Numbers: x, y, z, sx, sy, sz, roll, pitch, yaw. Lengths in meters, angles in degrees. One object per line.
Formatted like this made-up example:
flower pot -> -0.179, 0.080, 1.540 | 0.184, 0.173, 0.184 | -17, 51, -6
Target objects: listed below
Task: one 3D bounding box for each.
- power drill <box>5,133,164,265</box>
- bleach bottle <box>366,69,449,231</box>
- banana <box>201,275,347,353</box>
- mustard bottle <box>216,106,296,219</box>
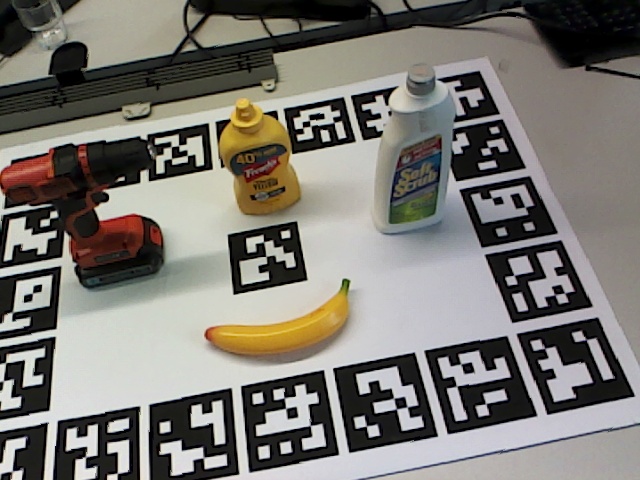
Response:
power drill -> -0.270, -0.049, 0.788 | 0.184, 0.186, 0.057 | -18, 56, 0
bleach bottle -> 0.106, -0.109, 0.780 | 0.103, 0.250, 0.068 | -4, 56, 4
banana -> -0.051, 0.104, 0.775 | 0.197, 0.038, 0.074 | -17, 58, -1
mustard bottle -> -0.090, -0.107, 0.841 | 0.096, 0.191, 0.059 | -17, 56, -7
